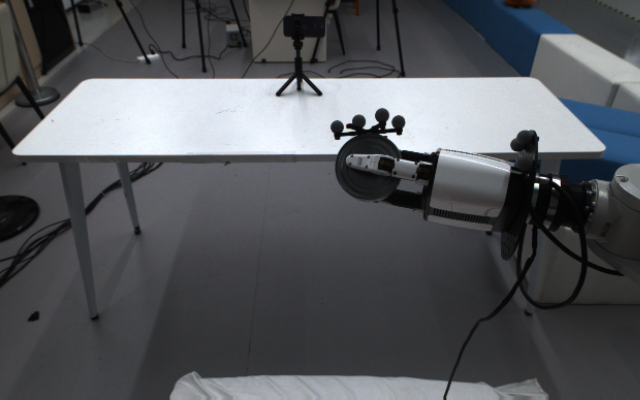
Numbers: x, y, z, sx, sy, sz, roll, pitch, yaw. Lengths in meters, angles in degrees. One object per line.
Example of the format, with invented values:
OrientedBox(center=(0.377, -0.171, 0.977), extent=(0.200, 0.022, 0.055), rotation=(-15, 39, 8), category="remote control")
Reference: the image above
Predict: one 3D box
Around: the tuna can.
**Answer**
OrientedBox(center=(0.065, -0.041, 0.623), extent=(0.085, 0.085, 0.034), rotation=(10, -7, 12), category="tuna can")
